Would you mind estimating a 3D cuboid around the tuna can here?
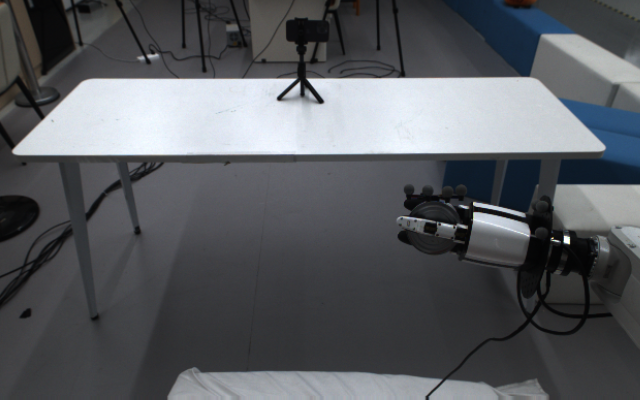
[{"bbox_3d":[0.182,0.042,0.767,0.085,0.085,0.034,13,7,15],"label":"tuna can"}]
